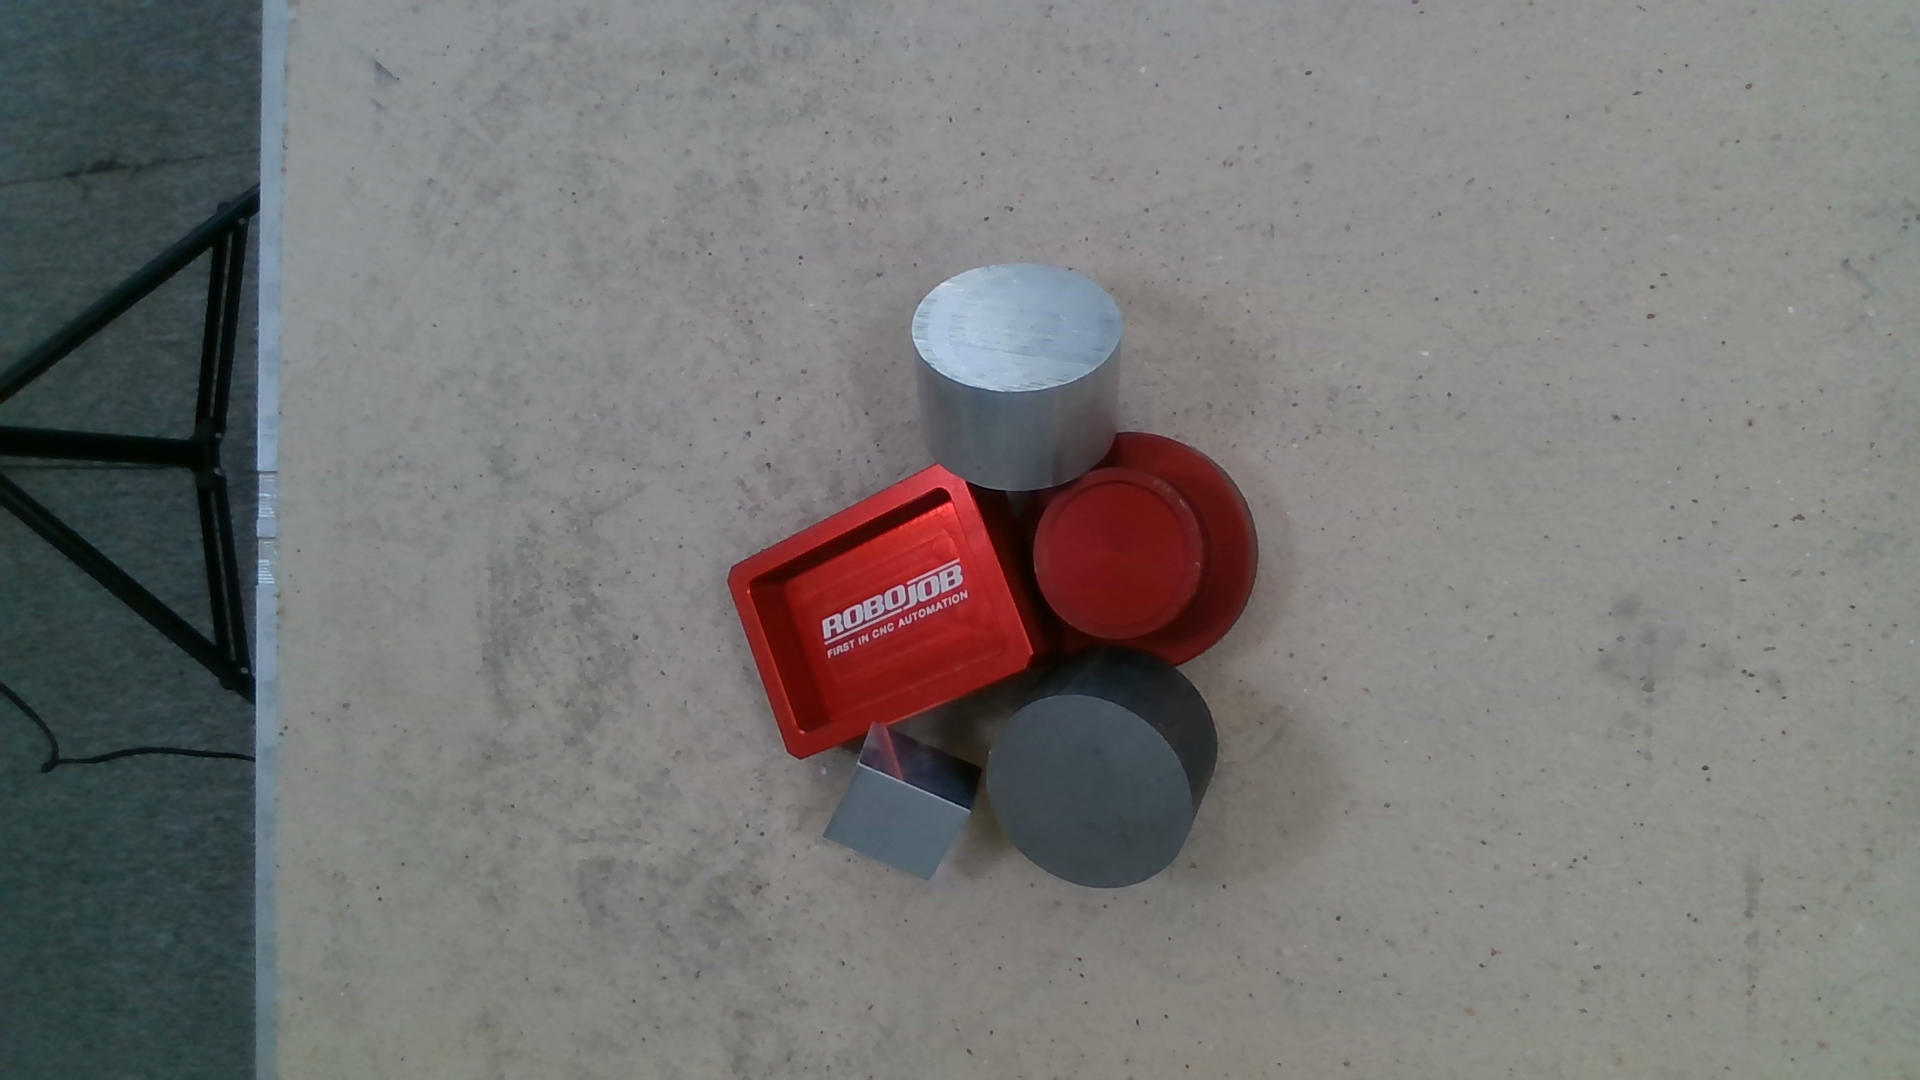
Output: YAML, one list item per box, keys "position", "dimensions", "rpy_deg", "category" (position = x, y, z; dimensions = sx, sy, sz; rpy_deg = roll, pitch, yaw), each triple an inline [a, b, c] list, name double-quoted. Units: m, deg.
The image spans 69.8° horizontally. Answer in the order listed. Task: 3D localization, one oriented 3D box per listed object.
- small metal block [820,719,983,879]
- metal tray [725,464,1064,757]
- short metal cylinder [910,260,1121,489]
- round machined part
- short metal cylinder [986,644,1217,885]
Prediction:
- position: [-0.025, 0.109, 0.578]
  dimensions: [0.050, 0.025, 0.050]
  rpy_deg: [24, 128, -4]
  category: "small metal block"
- position: [-0.030, 0.029, 0.583]
  dimensions: [0.130, 0.030, 0.090]
  rpy_deg: [-25, 82, 28]
  category: "metal tray"
- position: [0.022, -0.066, 0.541]
  dimensions: [0.080, 0.080, 0.050]
  rpy_deg: [17, 140, 19]
  category: "short metal cylinder"
- position: [0.068, 0.005, 0.553]
  dimensions: [0.098, 0.042, 0.098]
  rpy_deg: [0, 91, 20]
  category: "round machined part"
- position: [0.056, 0.087, 0.542]
  dimensions: [0.080, 0.050, 0.080]
  rpy_deg: [7, 111, 20]
  category: "short metal cylinder"
